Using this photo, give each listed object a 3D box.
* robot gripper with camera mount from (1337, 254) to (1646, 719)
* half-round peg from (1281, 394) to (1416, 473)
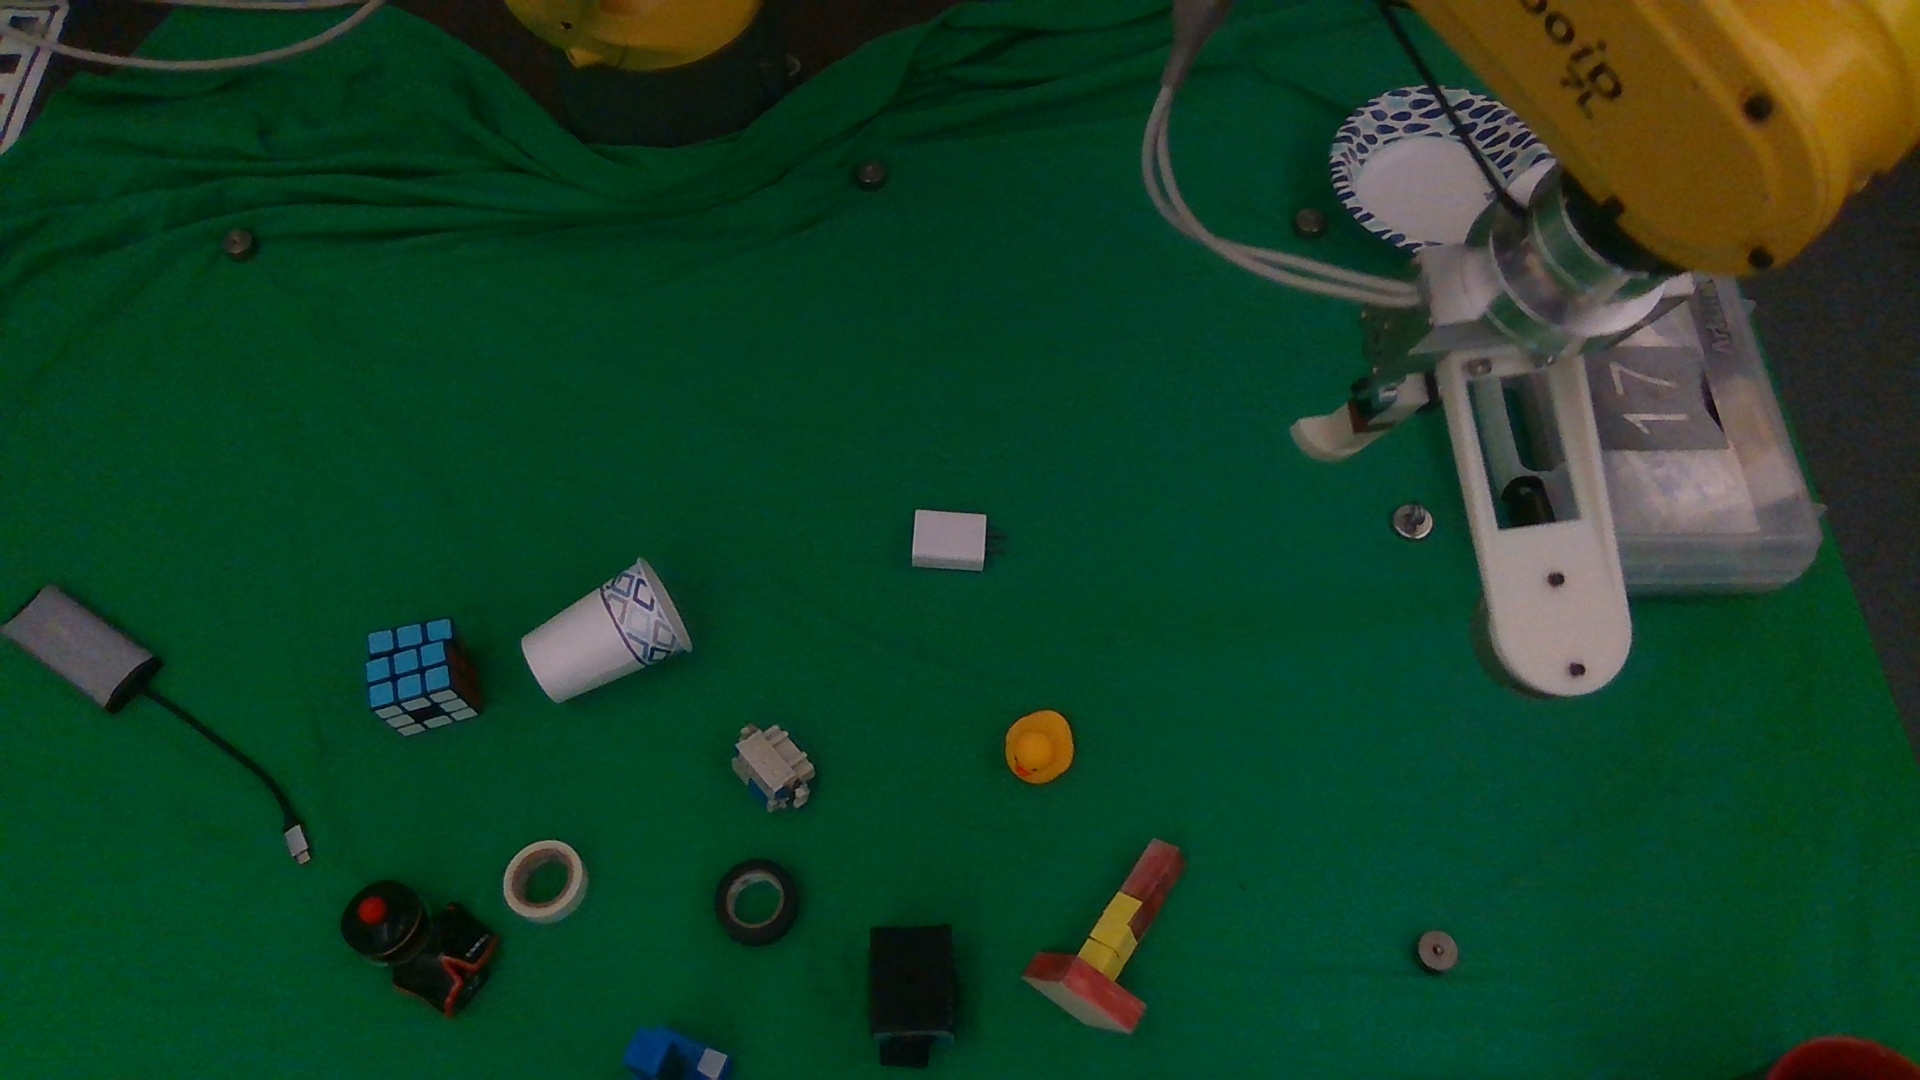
[{"bbox_3d":[0.252,-0.009,0.669,0.119,0.158,0.193,-8,77,-2],"label":"robot gripper with camera mount"},{"bbox_3d":[0.228,-0.066,0.798,0.054,0.122,0.031,-6,81,-4],"label":"half-round peg"}]
